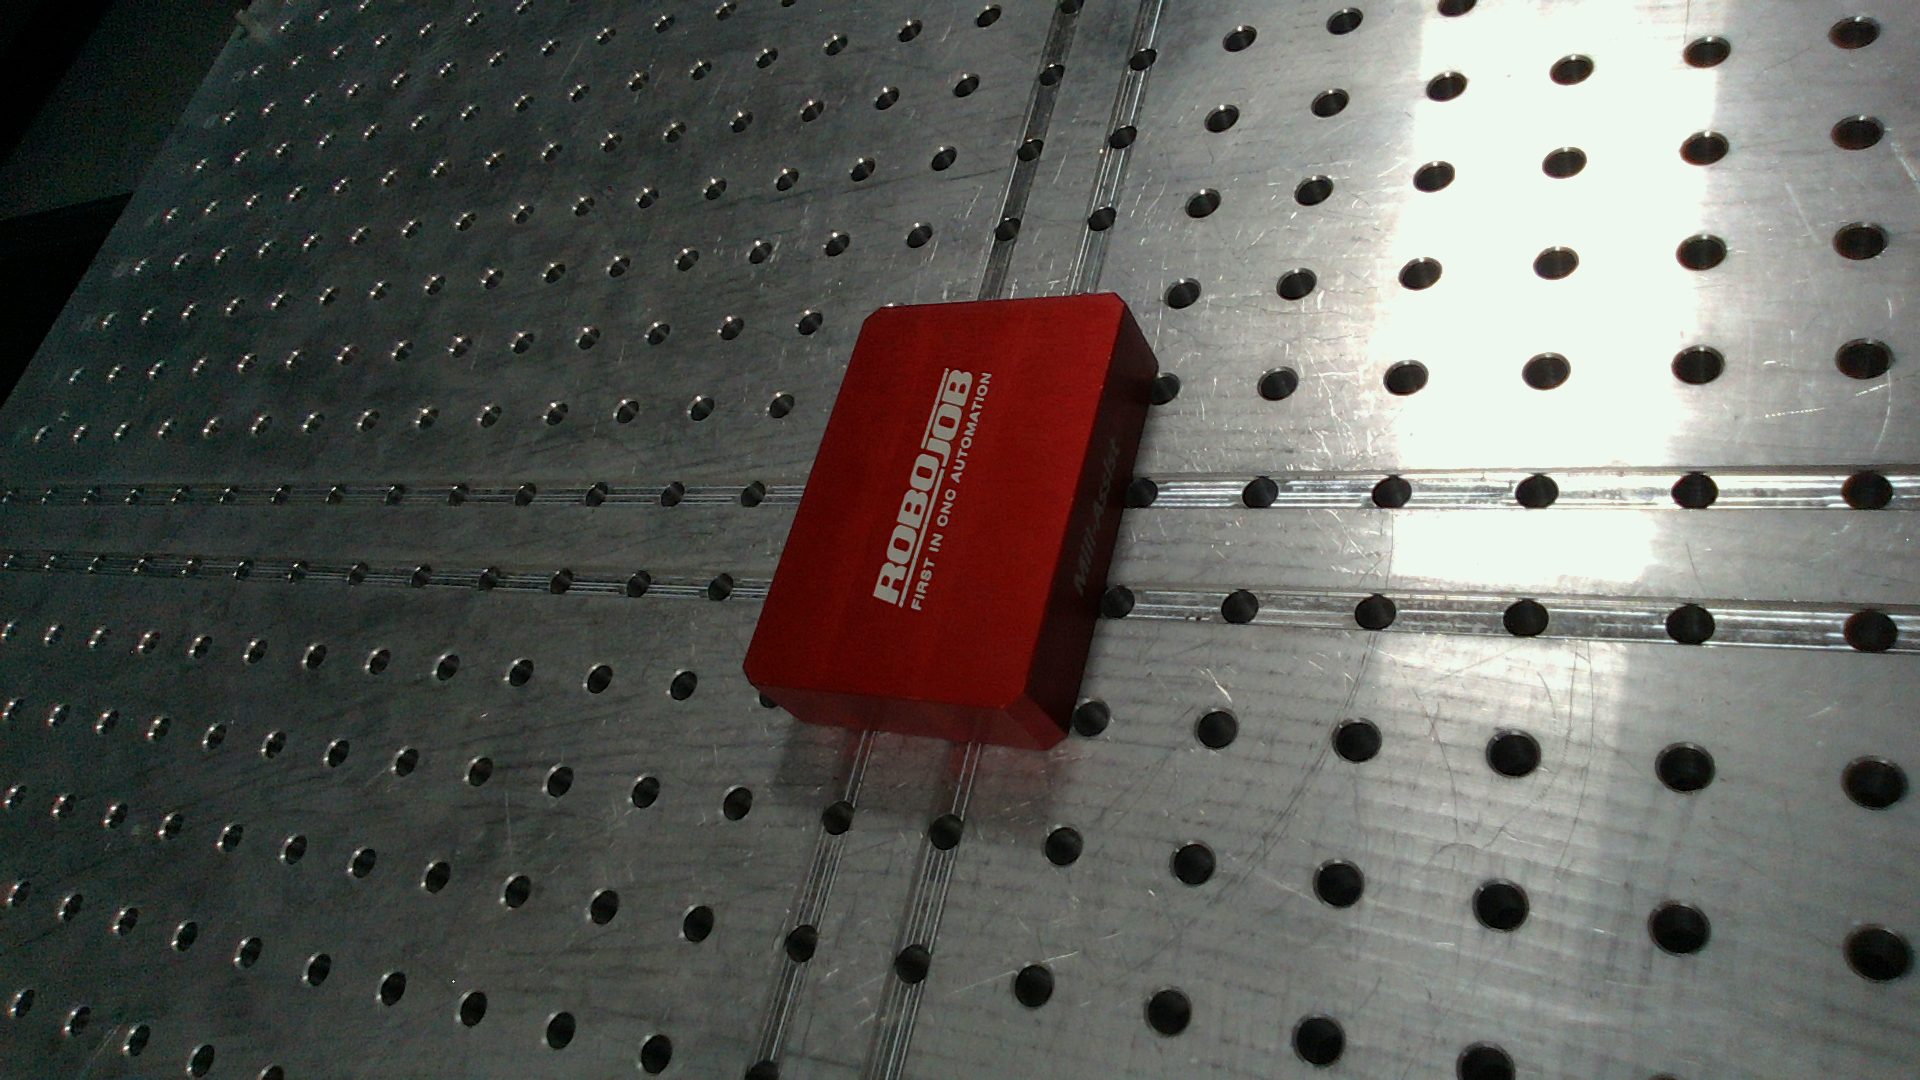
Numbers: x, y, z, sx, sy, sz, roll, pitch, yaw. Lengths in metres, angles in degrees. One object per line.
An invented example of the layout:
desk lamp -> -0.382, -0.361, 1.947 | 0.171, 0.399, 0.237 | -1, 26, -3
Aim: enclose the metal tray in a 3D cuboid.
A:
metal tray -> -0.001, -0.009, 0.399 | 0.090, 0.030, 0.130 | 2, 62, 29
